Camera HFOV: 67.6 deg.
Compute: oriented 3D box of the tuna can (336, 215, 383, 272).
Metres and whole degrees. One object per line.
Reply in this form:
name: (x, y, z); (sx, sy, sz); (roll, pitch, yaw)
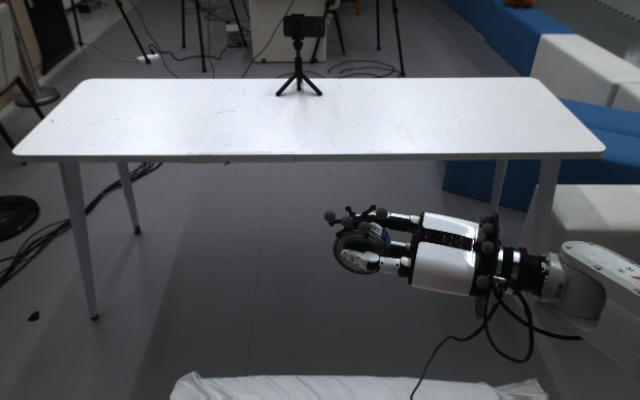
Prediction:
tuna can: (0.067, 0.072, 0.744); (0.085, 0.085, 0.034); (10, 33, 11)
